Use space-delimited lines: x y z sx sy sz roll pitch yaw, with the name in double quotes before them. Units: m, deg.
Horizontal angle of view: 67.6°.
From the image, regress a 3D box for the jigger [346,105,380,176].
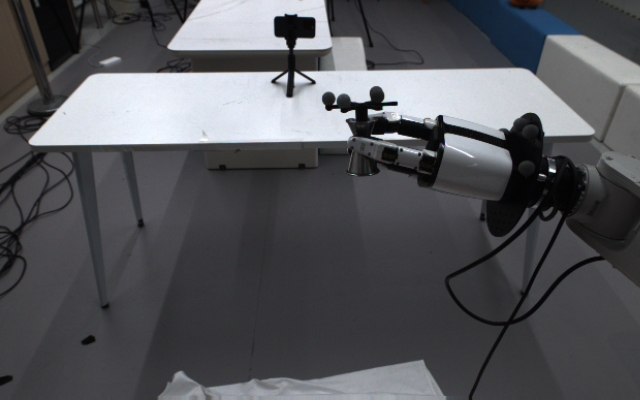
"jigger" 0.053 -0.068 0.615 0.043 0.071 0.043 -2 19 1
